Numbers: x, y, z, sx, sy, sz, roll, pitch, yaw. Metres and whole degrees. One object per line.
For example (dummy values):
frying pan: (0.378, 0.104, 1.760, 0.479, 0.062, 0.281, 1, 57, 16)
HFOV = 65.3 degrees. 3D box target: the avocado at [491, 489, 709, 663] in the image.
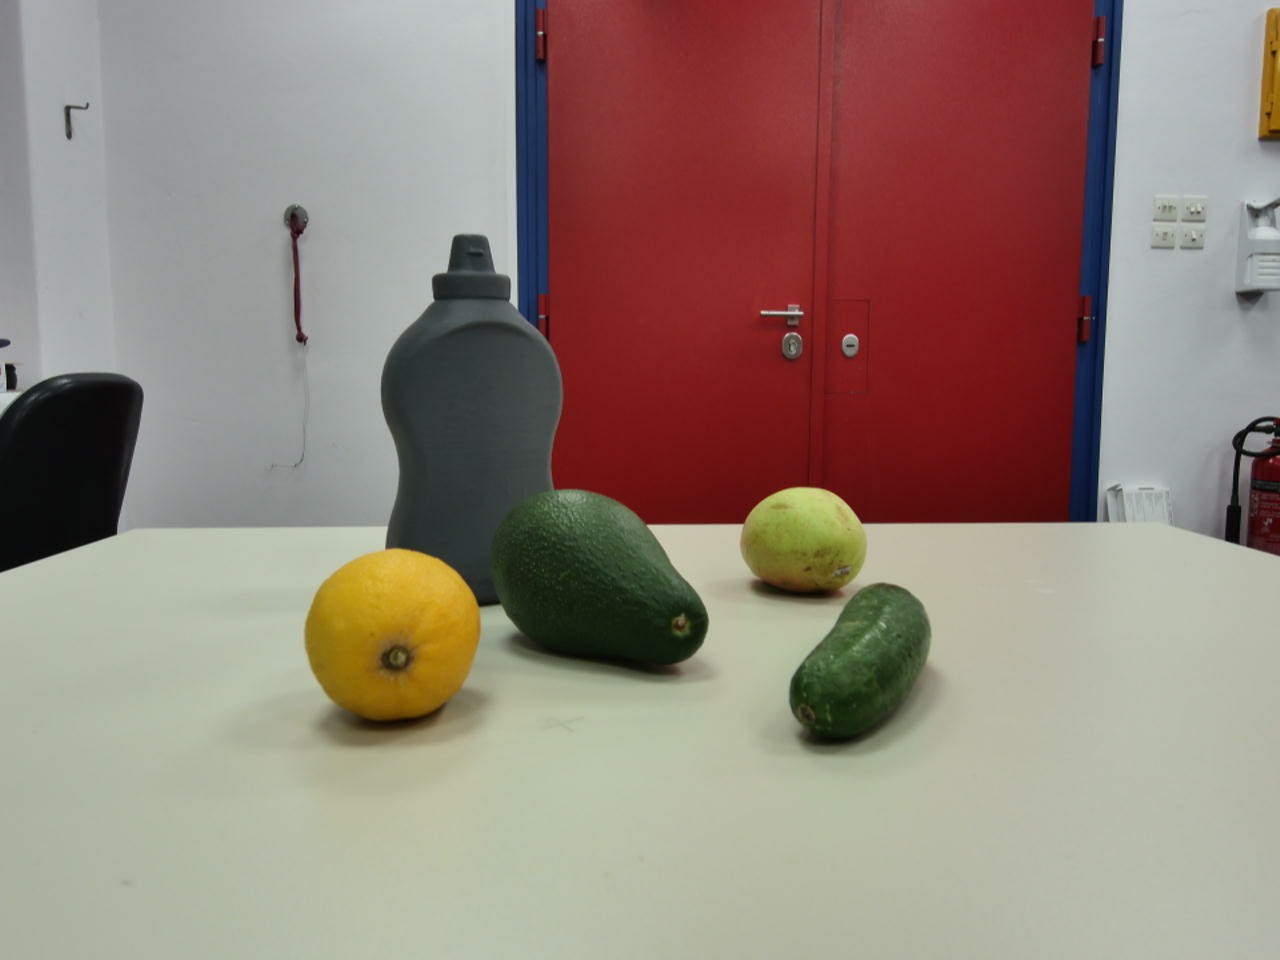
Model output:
avocado: (-0.022, 0.040, 0.429, 0.072, 0.071, 0.110, -1, 4, -23)
